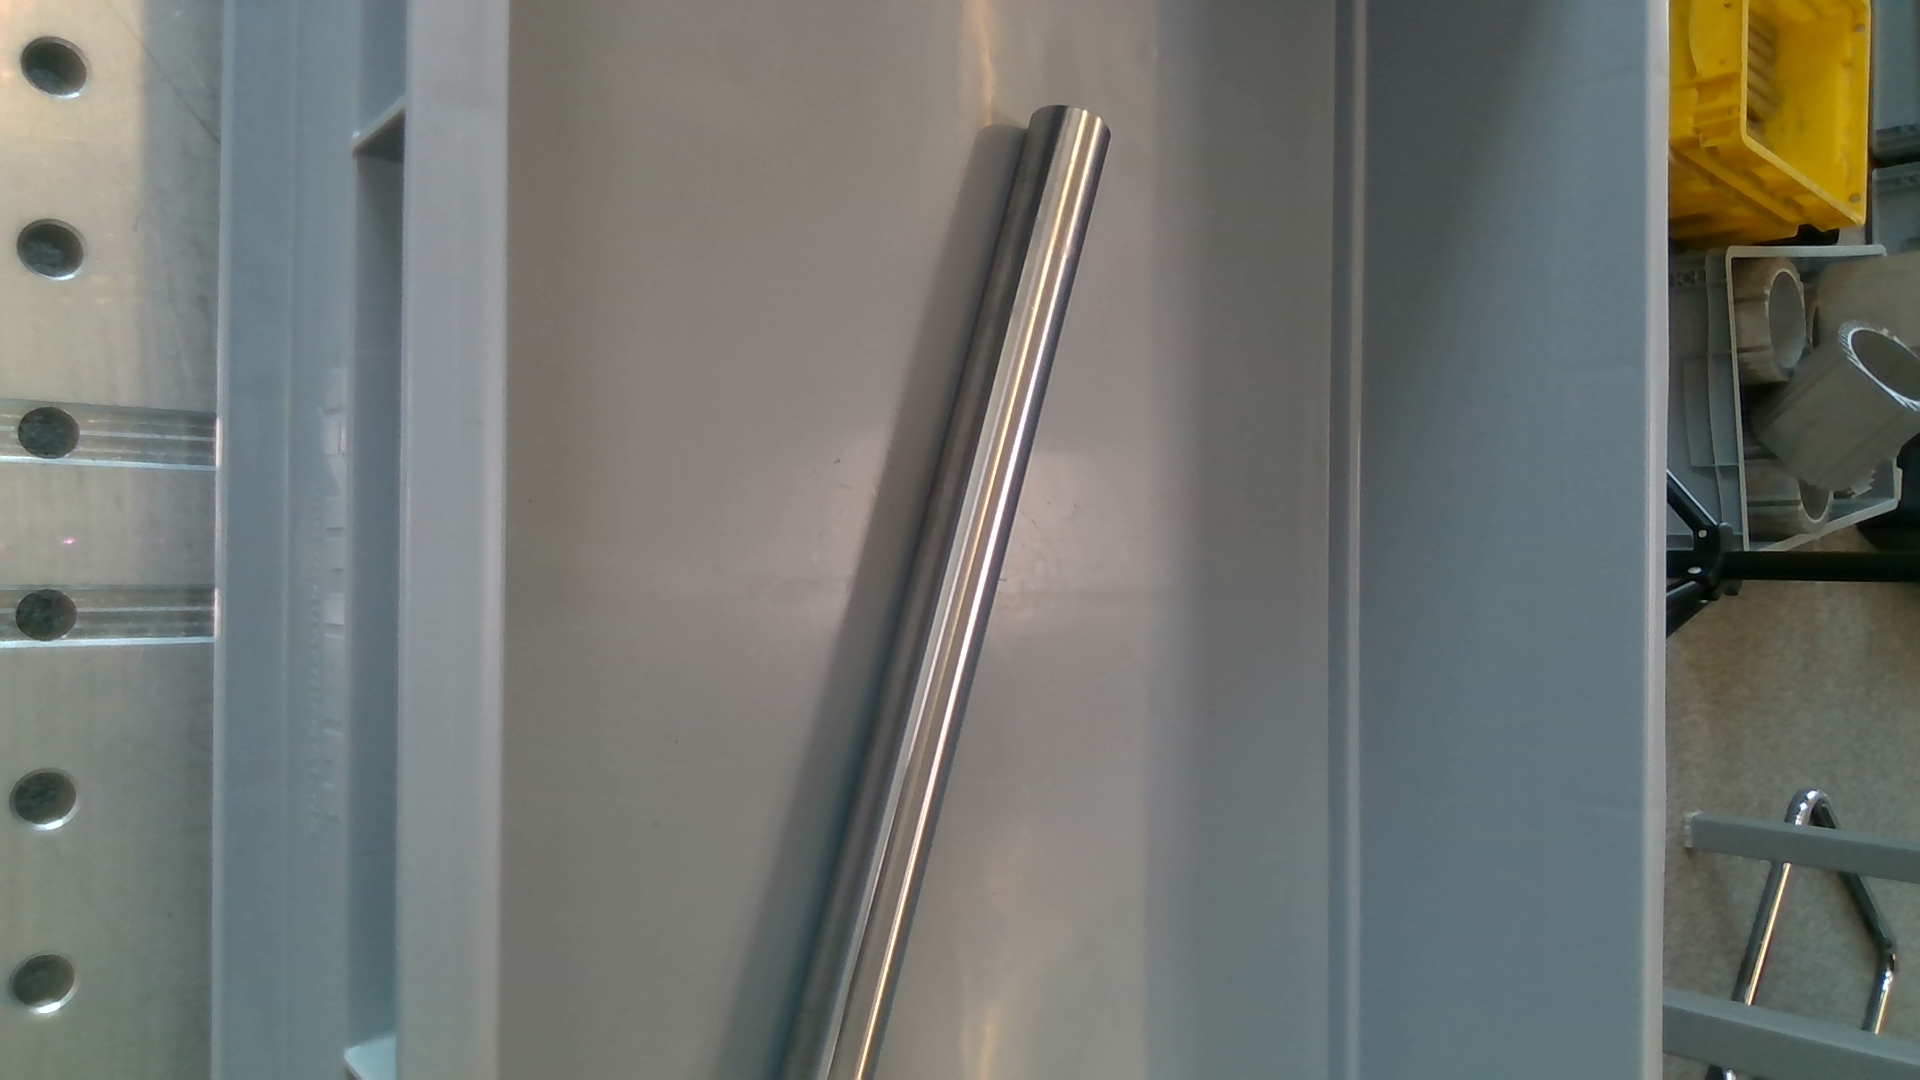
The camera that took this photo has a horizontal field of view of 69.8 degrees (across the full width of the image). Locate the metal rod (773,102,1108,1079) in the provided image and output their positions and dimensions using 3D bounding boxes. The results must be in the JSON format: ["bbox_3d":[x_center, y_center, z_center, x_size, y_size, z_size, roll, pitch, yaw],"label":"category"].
[{"bbox_3d":[-0.004,0.016,0.386,0.025,0.025,0.299,24,75,-38],"label":"metal rod"}]
